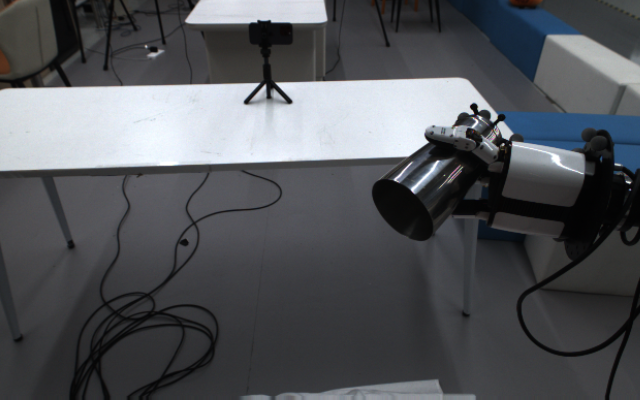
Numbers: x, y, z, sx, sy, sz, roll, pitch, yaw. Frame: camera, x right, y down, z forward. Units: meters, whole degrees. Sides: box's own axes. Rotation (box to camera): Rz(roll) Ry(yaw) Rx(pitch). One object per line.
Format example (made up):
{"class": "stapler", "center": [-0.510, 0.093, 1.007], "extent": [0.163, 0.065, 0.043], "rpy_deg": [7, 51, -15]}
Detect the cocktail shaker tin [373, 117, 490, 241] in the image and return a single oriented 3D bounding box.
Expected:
{"class": "cocktail shaker tin", "center": [0.156, -0.042, 0.611], "extent": [0.170, 0.093, 0.093], "rpy_deg": [-38, 50, -24]}
